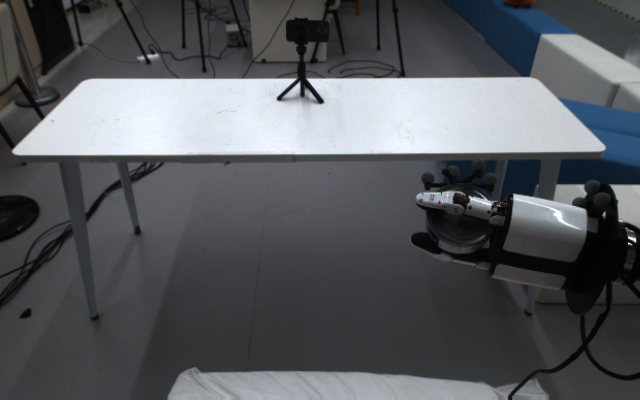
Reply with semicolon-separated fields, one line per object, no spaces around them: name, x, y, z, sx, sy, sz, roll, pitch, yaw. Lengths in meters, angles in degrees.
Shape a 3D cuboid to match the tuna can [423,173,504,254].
tuna can;0.178;0.022;0.616;0.085;0.034;0.085;-4;62;7
